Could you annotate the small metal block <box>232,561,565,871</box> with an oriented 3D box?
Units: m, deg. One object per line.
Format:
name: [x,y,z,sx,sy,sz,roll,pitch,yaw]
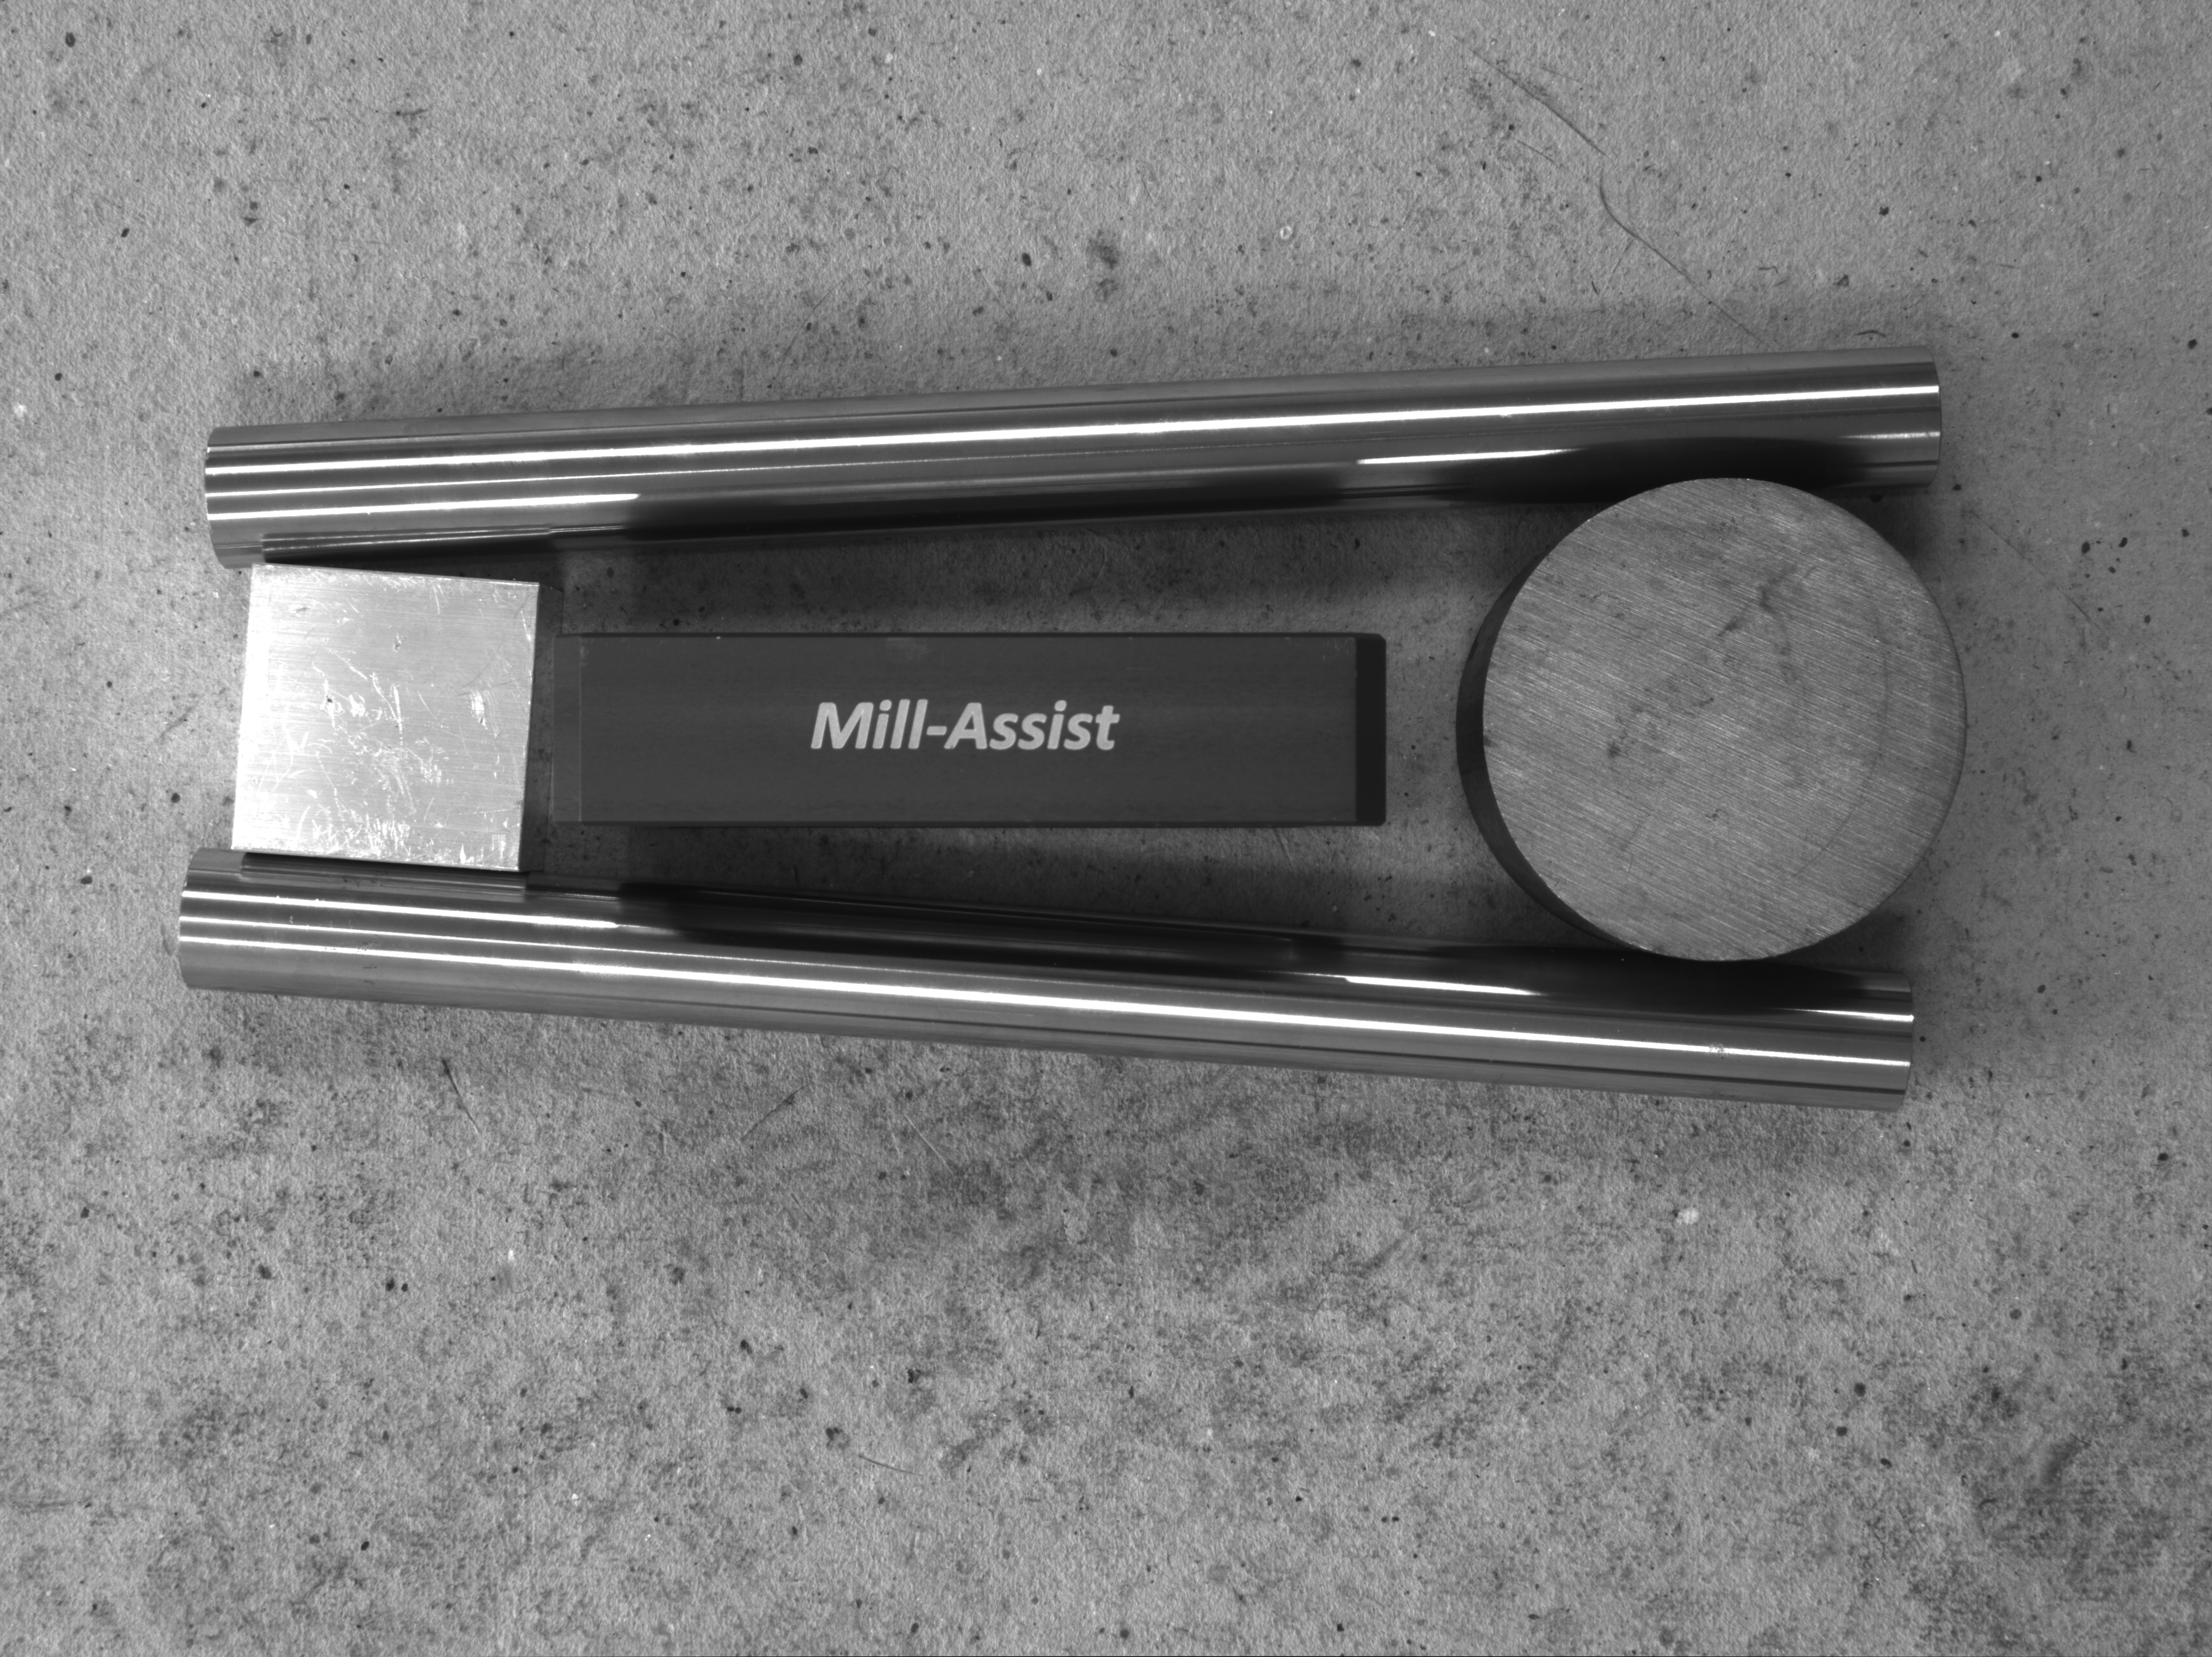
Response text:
small metal block: [-0.124,-0.019,0.647,0.050,0.025,0.050,4,90,0]

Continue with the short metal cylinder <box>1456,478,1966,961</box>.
short metal cylinder: [0.103,-0.018,0.633,0.080,0.050,0.080,0,90,0]

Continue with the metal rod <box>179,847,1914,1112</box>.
metal rod: [-0.010,0.027,0.646,0.300,0.025,0.025,4,90,0]

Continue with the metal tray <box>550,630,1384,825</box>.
metal tray: [-0.021,-0.015,0.612,0.130,0.090,0.030,0,90,1]

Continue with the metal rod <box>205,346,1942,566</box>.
metal rod: [-0.005,-0.065,0.646,0.300,0.025,0.025,-3,90,0]
